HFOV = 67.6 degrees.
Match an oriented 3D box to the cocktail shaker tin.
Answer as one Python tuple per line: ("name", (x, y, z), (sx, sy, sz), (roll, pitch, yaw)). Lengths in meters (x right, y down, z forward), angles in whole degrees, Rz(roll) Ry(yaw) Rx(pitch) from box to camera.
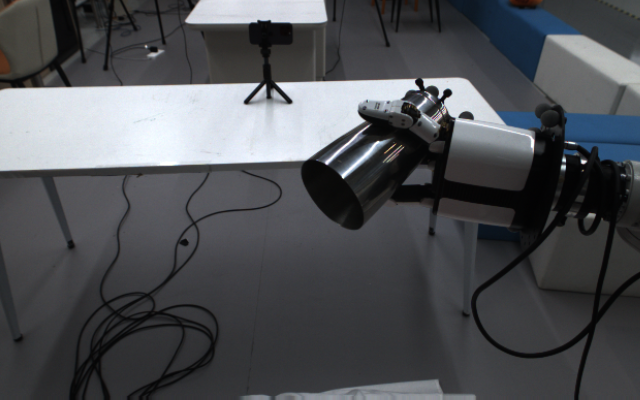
("cocktail shaker tin", (0.072, -0.058, 0.548), (0.170, 0.093, 0.093), (-38, 50, -24))
